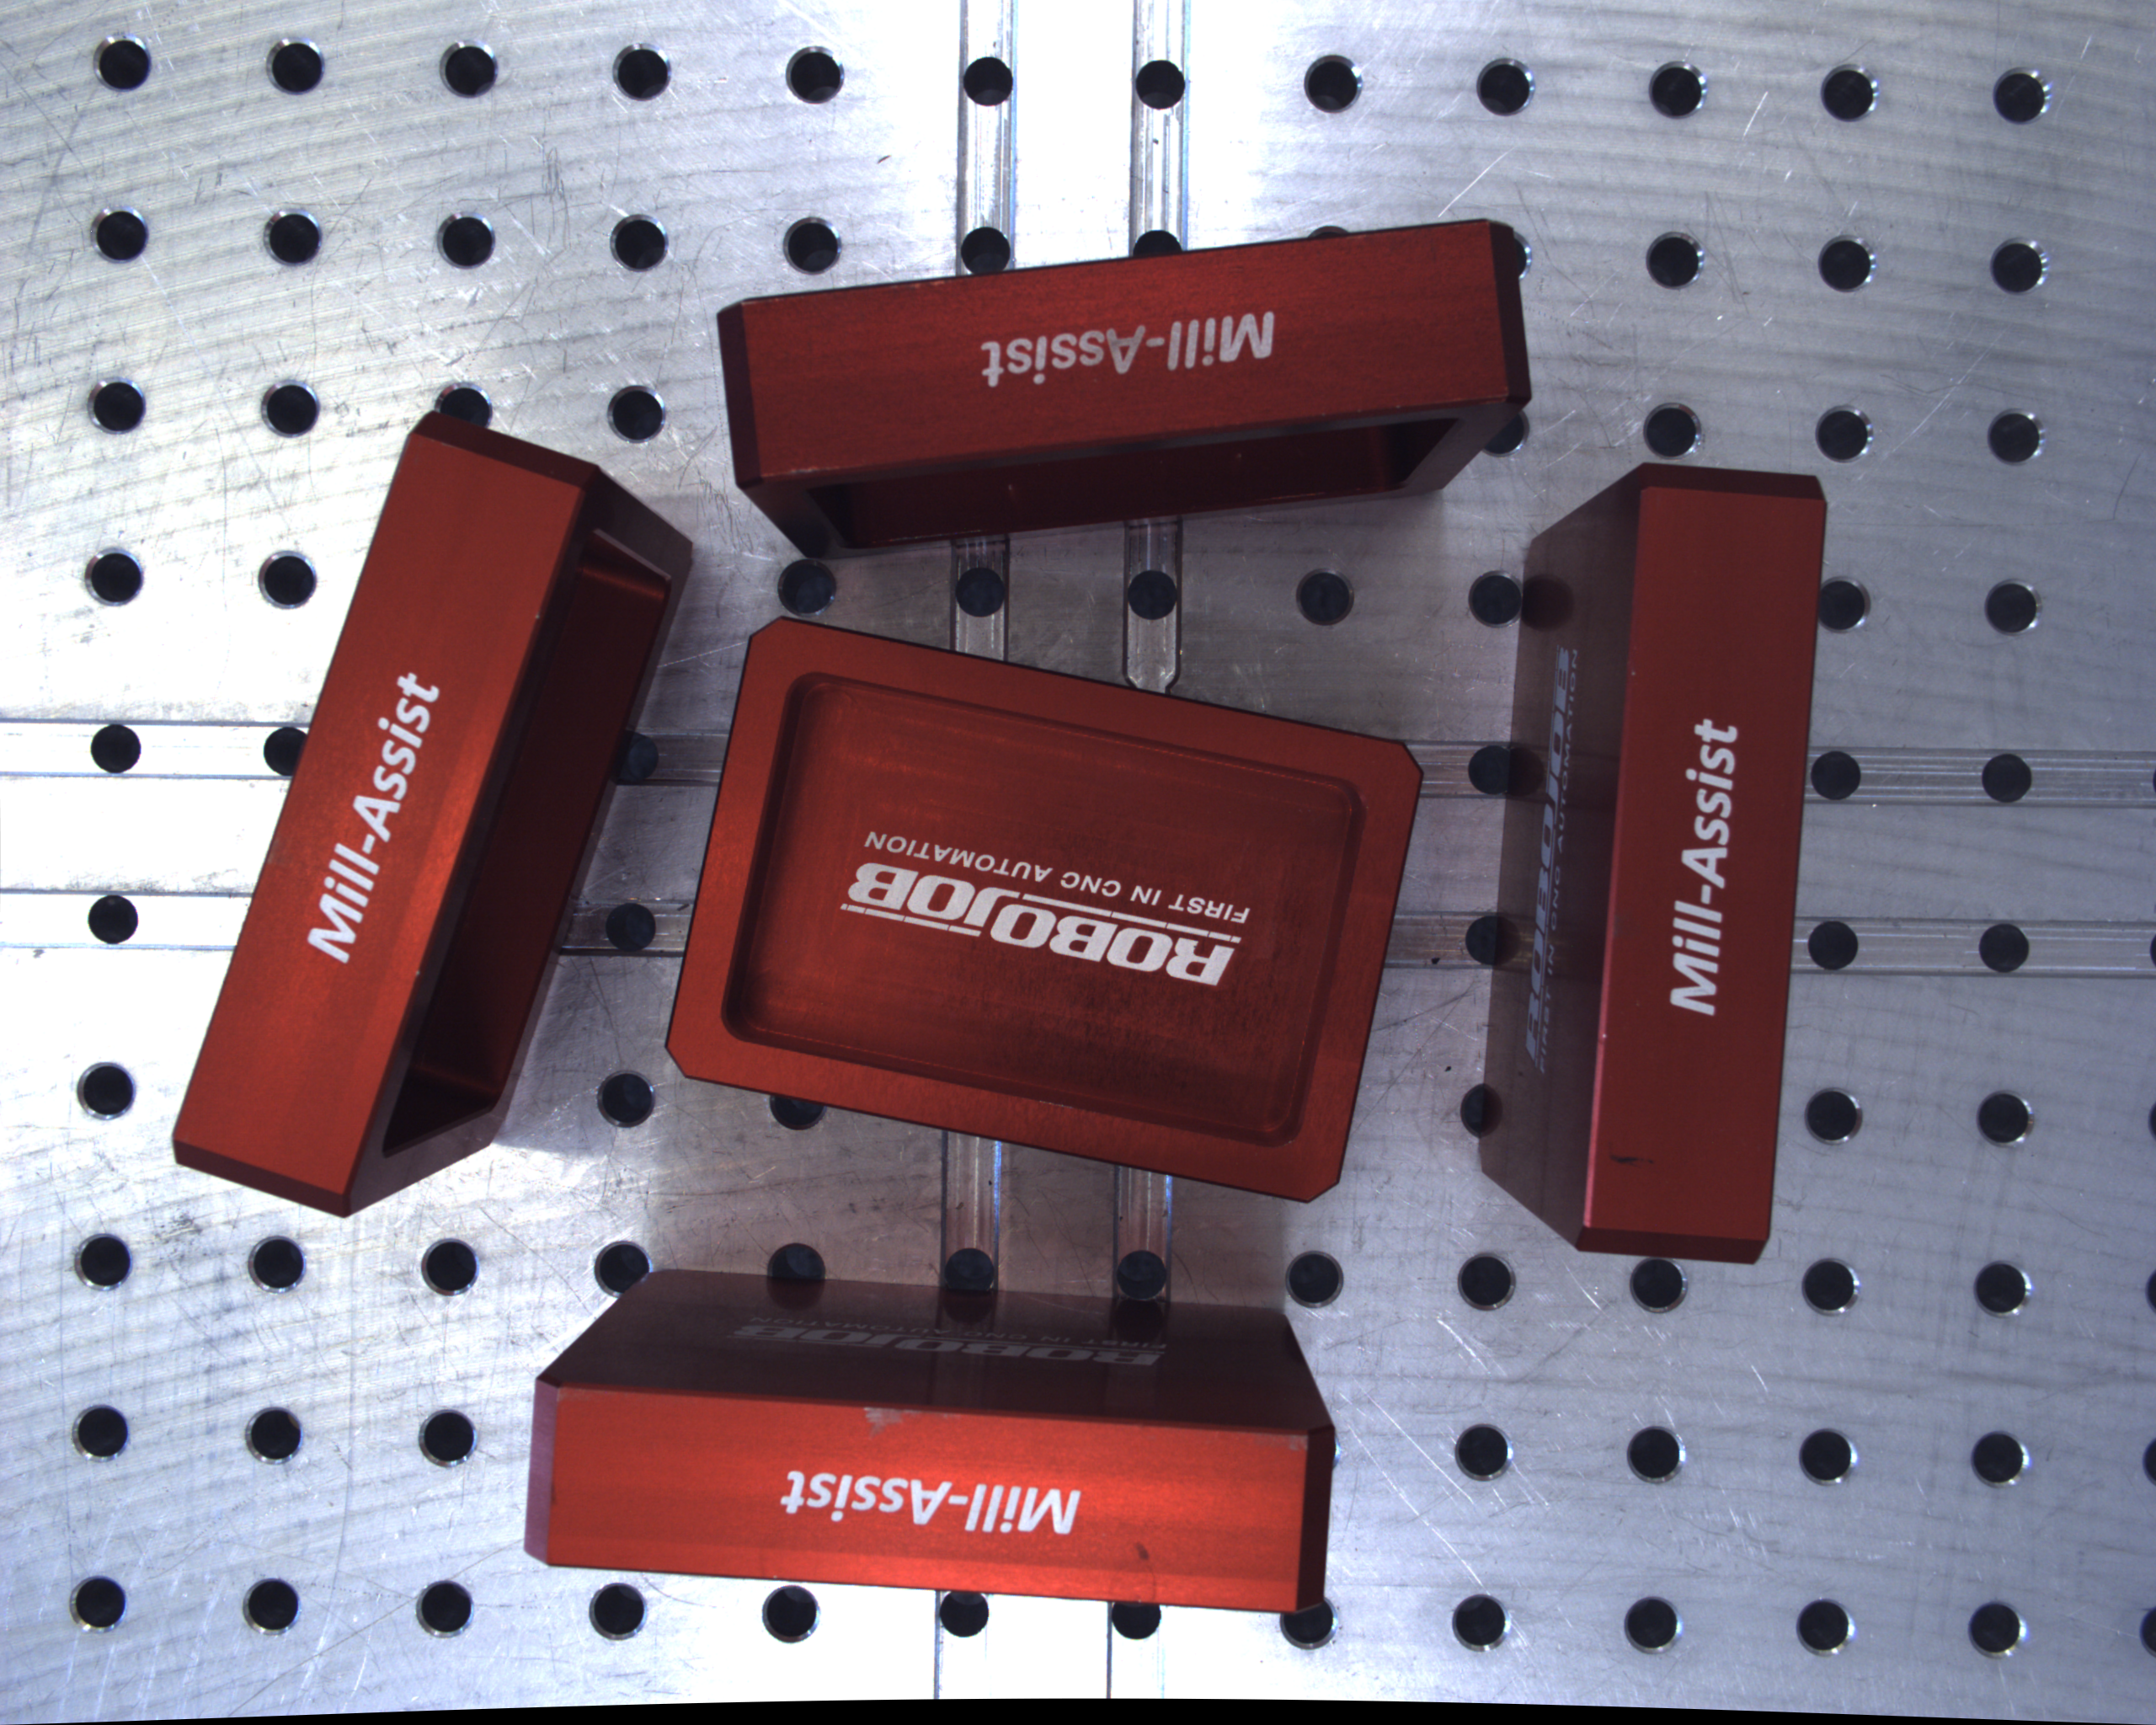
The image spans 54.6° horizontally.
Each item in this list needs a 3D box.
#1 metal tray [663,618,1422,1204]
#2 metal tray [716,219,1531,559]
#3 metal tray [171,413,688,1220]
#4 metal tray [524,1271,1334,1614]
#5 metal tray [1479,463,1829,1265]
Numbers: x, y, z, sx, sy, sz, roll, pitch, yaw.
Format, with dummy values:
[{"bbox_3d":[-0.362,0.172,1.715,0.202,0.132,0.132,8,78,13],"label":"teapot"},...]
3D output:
[{"bbox_3d":[-0.007,0.009,0.410,0.131,0.030,0.090,11,90,-1],"label":"metal tray"},{"bbox_3d":[0.008,-0.083,0.380,0.131,0.090,0.030,-6,90,0],"label":"metal tray"},{"bbox_3d":[-0.113,-0.008,0.380,0.030,0.090,0.129,18,90,0],"label":"metal tray"},{"bbox_3d":[-0.024,0.102,0.381,0.131,0.090,0.030,4,90,0],"label":"metal tray"},{"bbox_3d":[0.102,0.000,0.381,0.030,0.090,0.129,5,90,0],"label":"metal tray"}]
